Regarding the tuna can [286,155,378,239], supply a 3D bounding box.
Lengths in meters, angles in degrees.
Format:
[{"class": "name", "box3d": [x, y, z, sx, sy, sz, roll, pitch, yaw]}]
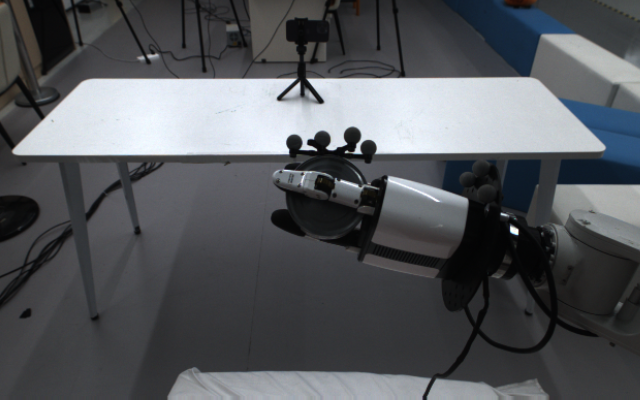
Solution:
[{"class": "tuna can", "box3d": [0.011, 0.002, 0.506, 0.085, 0.034, 0.085, 0, 78, 0]}]
